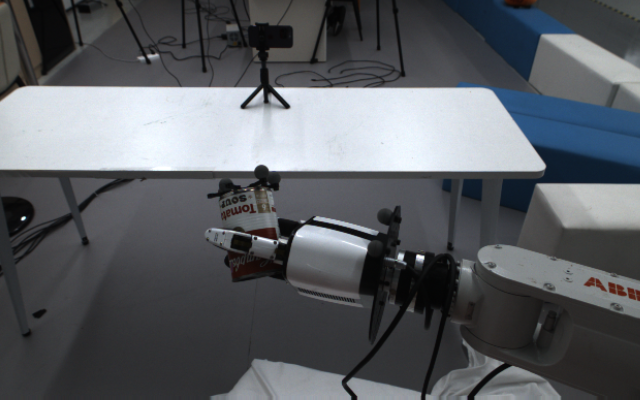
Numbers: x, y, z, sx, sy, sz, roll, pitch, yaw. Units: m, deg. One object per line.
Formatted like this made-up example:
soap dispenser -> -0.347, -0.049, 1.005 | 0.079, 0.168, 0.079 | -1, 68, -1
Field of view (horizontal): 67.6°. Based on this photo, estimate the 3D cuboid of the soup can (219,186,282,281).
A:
soup can -> -0.079, 0.042, 0.583 | 0.067, 0.067, 0.101 | -10, 80, -17
